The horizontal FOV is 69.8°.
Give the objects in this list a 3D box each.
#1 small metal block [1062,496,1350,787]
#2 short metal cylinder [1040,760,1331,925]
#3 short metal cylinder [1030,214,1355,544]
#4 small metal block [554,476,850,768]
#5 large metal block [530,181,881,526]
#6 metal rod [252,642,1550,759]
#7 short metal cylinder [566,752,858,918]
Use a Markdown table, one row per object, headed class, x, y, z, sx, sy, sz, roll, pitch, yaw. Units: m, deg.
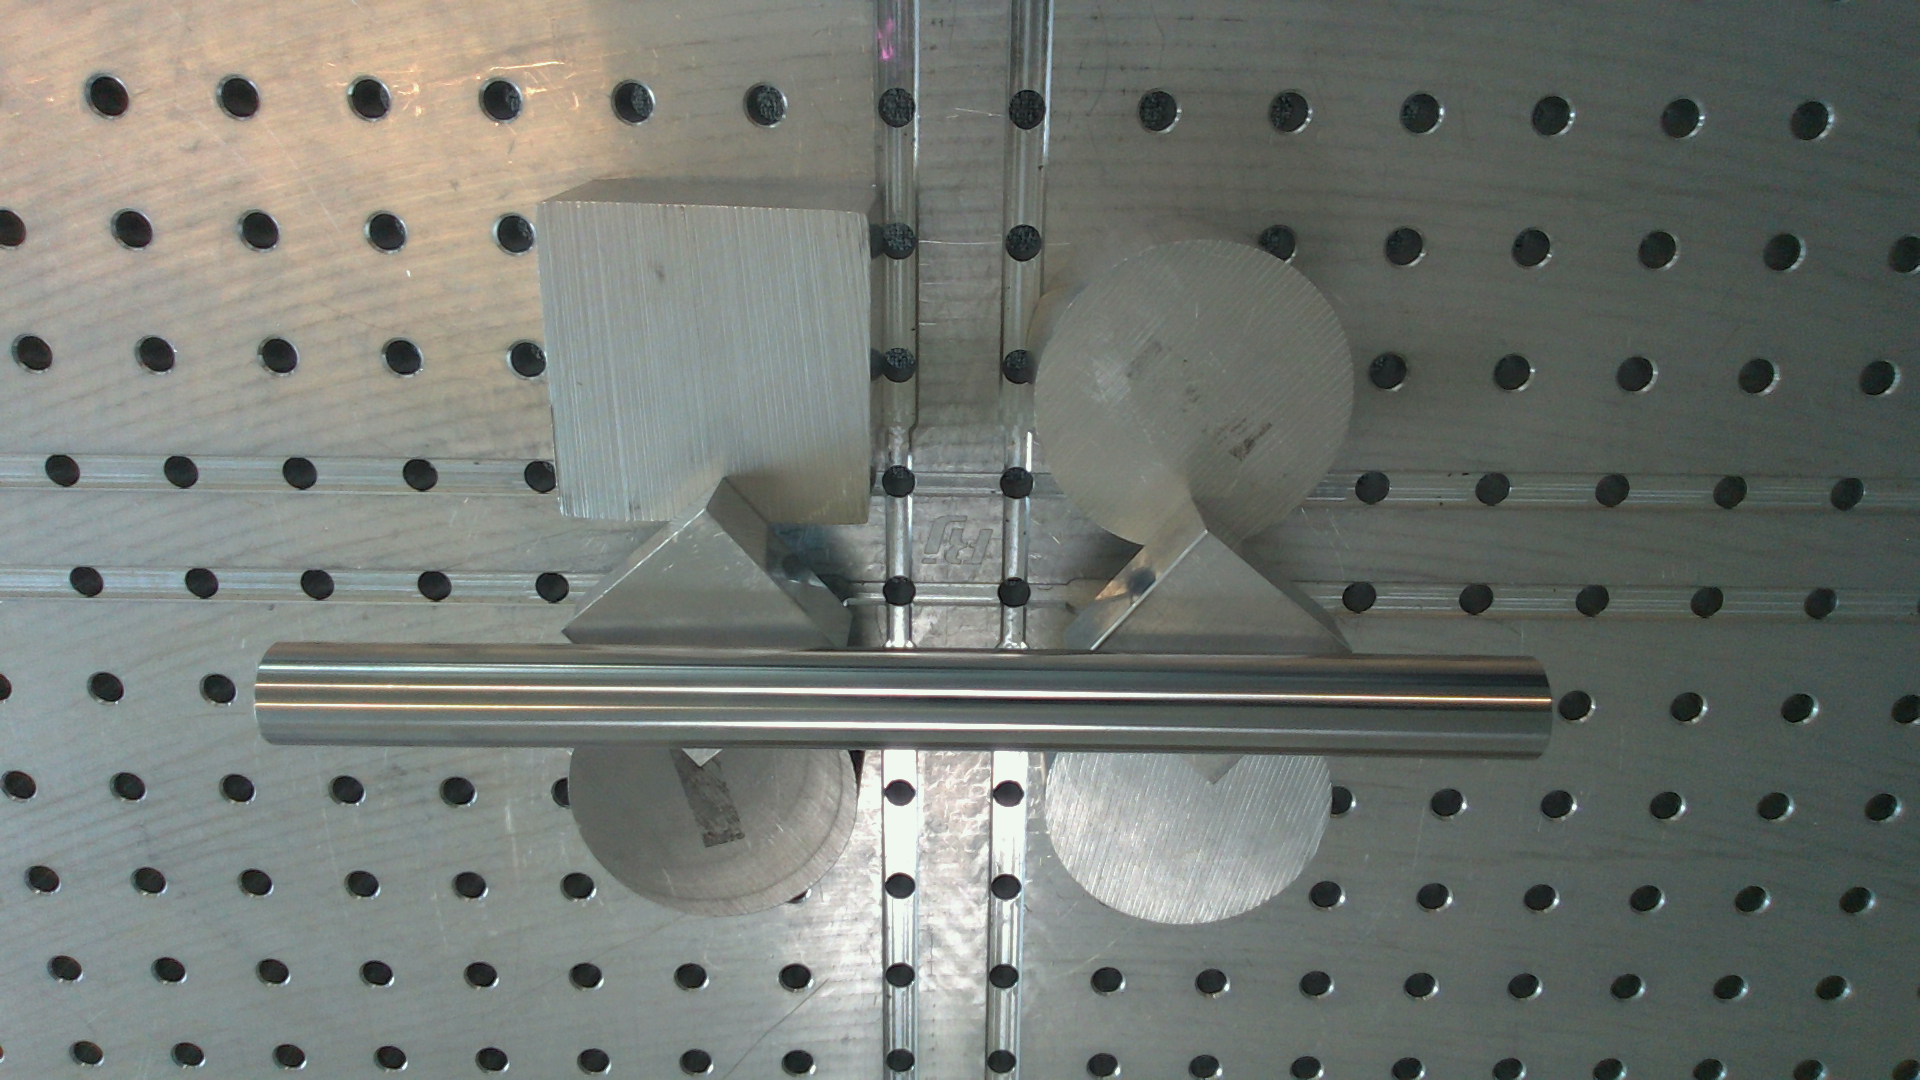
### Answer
| class | x | y | z | sx | sy | sz | roll | pitch | yaw |
| --- | --- | --- | --- | --- | --- | --- | --- | --- | --- |
| small metal block | 0.062 | 0.026 | 0.353 | 0.050 | 0.025 | 0.050 | 38 | 106 | -13 |
| short metal cylinder | 0.064 | 0.065 | 0.408 | 0.080 | 0.050 | 0.080 | 0 | 110 | 0 |
| short metal cylinder | 0.059 | -0.044 | 0.367 | 0.080 | 0.050 | 0.080 | 0 | 110 | 0 |
| small metal block | -0.064 | 0.021 | 0.351 | 0.050 | 0.025 | 0.050 | -38 | 106 | 13 |
| large metal block | -0.062 | -0.050 | 0.364 | 0.080 | 0.050 | 0.080 | 1 | 110 | -1 |
| metal rod | -0.013 | 0.038 | 0.330 | 0.300 | 0.025 | 0.025 | 1 | 110 | -1 |
| short metal cylinder | -0.069 | 0.063 | 0.405 | 0.080 | 0.050 | 0.080 | 0 | 110 | 0 |
